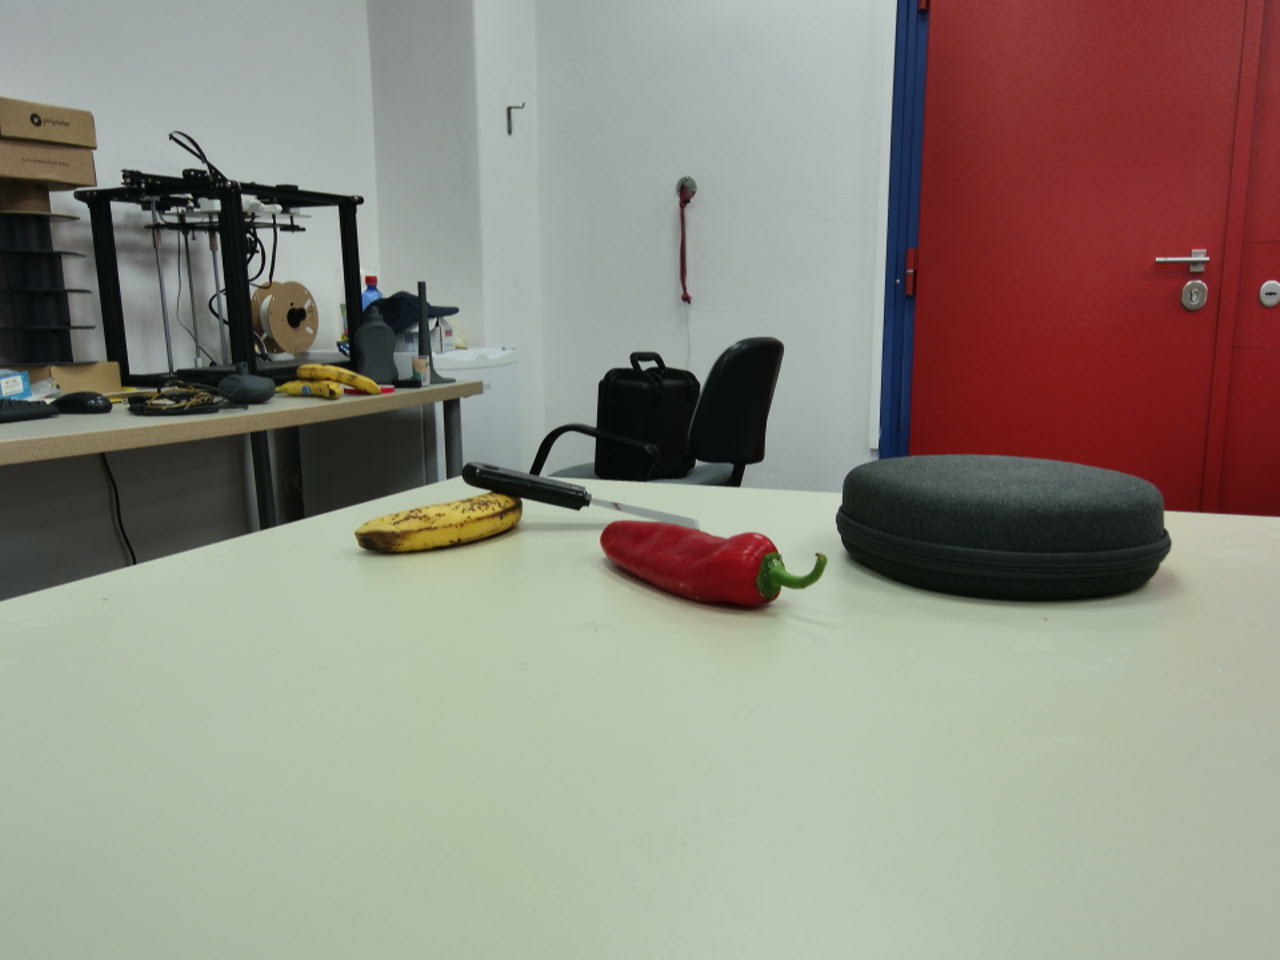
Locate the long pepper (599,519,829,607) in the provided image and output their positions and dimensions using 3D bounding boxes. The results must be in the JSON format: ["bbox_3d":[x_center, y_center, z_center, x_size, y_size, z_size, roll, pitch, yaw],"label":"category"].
[{"bbox_3d":[0.030,0.047,0.618,0.050,0.043,0.211,-5,9,-34],"label":"long pepper"}]
